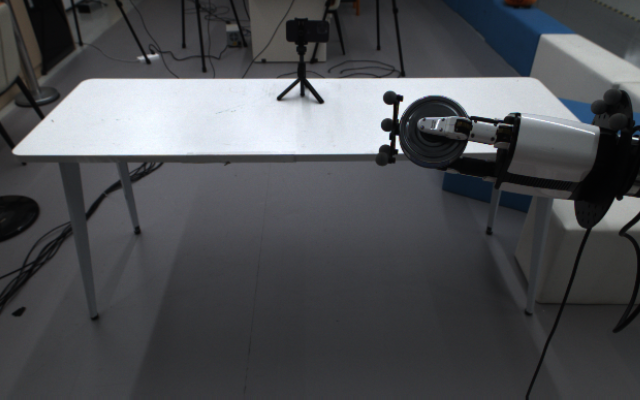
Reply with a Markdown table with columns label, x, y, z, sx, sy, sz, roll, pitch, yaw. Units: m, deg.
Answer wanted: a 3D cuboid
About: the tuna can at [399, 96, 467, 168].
| label | x | y | z | sx | sy | sz | roll | pitch | yaw |
| --- | --- | --- | --- | --- | --- | --- | --- | --- | --- |
| tuna can | 0.141 | -0.088 | 0.598 | 0.085 | 0.085 | 0.034 | 9 | -7 | 10 |
